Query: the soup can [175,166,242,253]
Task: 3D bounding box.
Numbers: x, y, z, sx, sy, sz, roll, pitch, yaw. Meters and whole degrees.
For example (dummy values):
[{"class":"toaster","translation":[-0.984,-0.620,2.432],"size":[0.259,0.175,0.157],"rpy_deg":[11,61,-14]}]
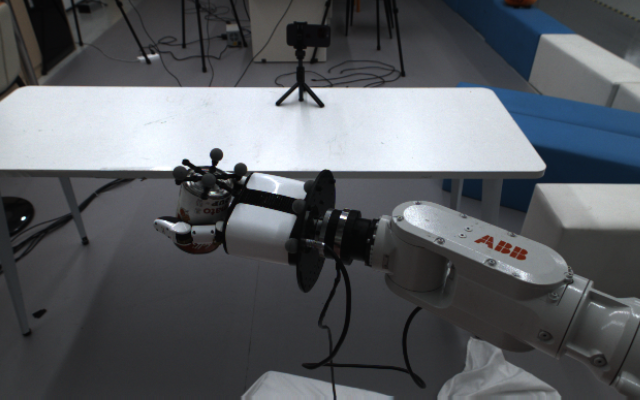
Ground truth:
[{"class":"soup can","translation":[-0.156,0.014,0.645],"size":[0.067,0.101,0.067],"rpy_deg":[14,36,-11]}]
